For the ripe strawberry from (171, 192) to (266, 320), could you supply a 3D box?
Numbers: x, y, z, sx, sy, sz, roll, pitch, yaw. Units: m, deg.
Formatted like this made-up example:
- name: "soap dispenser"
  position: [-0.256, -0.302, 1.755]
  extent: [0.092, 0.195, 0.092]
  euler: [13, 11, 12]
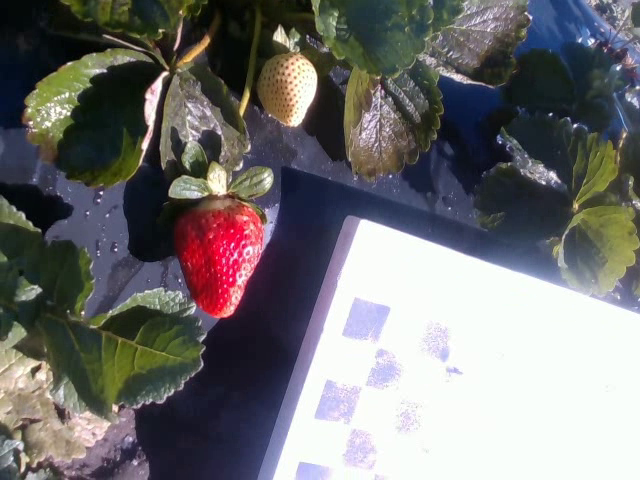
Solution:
- name: "ripe strawberry"
  position: [-0.050, 0.010, 0.298]
  extent: [0.048, 0.069, 0.040]
  euler: [-1, 3, -19]
